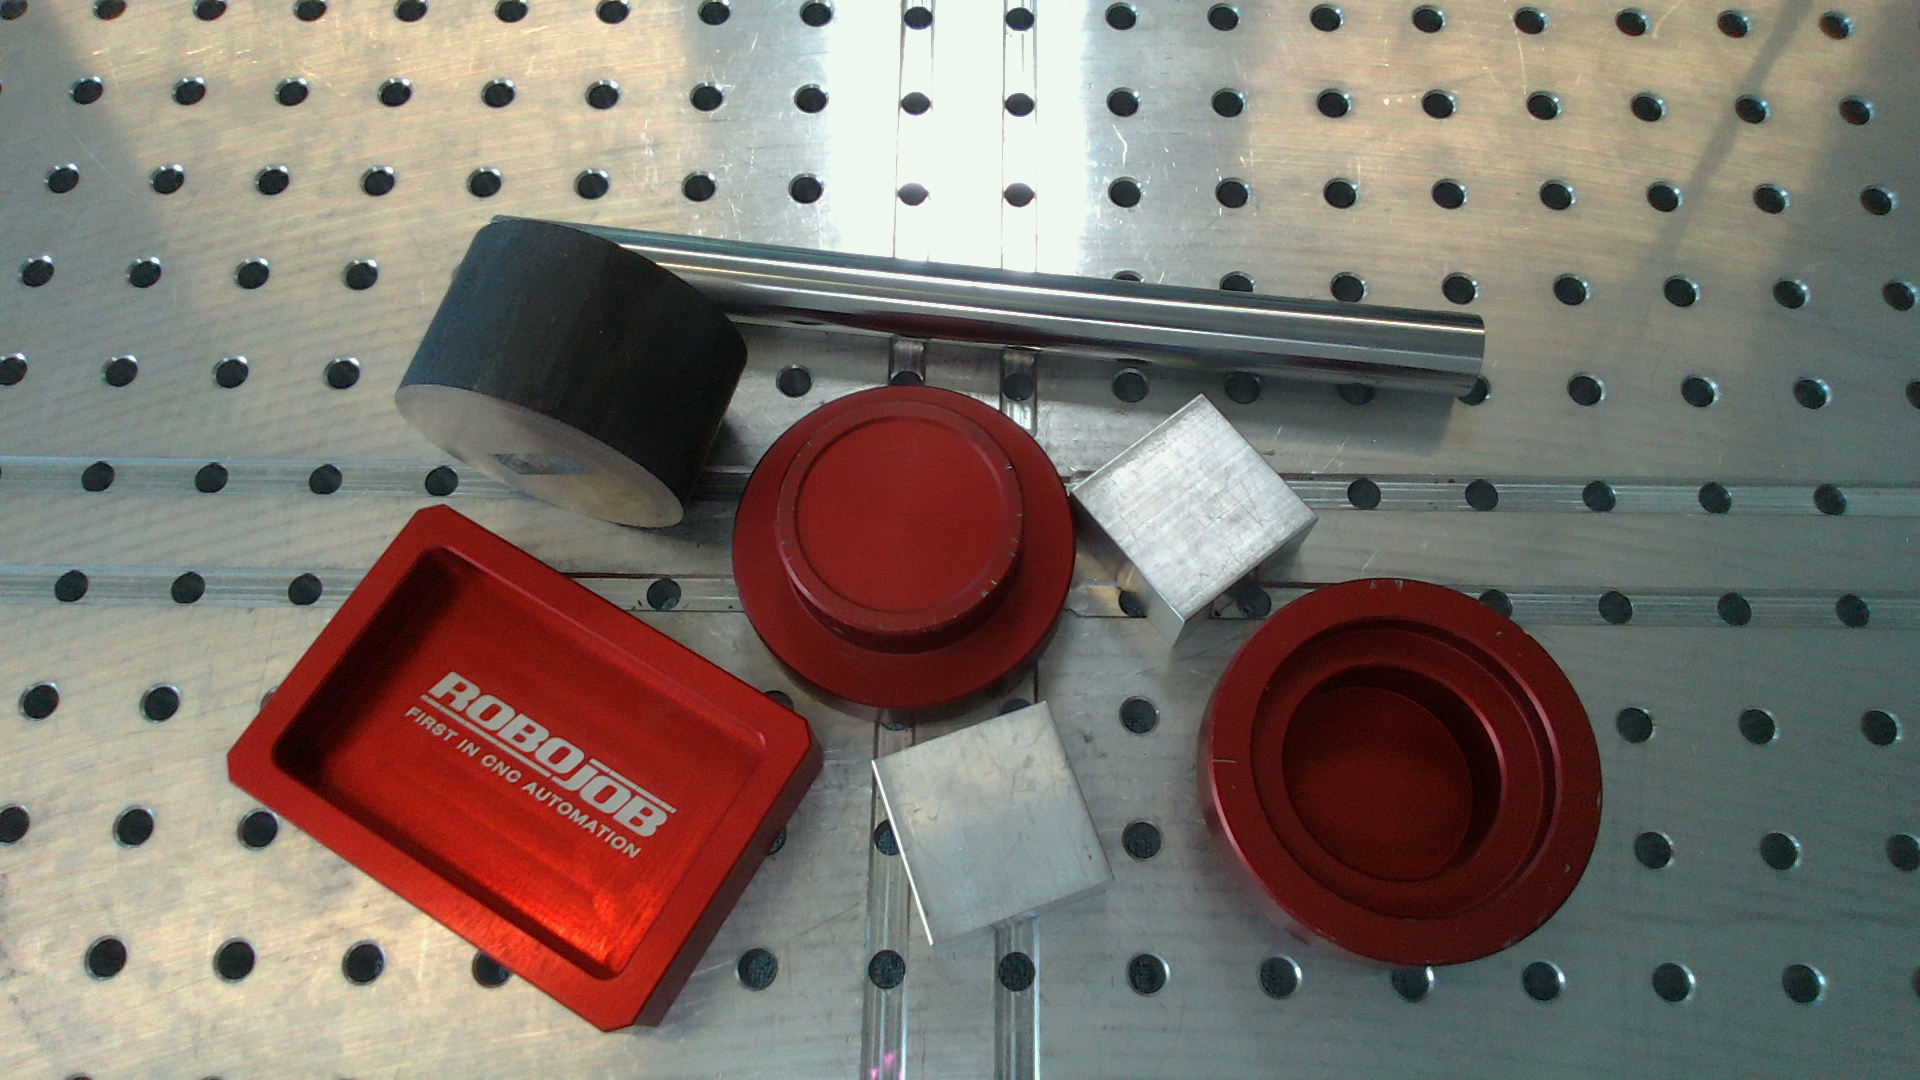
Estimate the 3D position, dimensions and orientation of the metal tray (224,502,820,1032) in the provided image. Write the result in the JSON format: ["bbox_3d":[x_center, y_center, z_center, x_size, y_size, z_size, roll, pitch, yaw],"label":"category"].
[{"bbox_3d":[-0.115,0.059,0.372,0.130,0.030,0.090,29,73,10],"label":"metal tray"}]

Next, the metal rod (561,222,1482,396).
[{"bbox_3d":[0.005,-0.072,0.423,0.300,0.025,0.025,6,70,2],"label":"metal rod"}]

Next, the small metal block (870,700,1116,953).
[{"bbox_3d":[0.008,0.077,0.369,0.050,0.025,0.050,-18,71,-7],"label":"small metal block"}]

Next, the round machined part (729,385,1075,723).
[{"bbox_3d":[-0.016,-0.001,0.388,0.098,0.042,0.098,0,67,0],"label":"round machined part"}]

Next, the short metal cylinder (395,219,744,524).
[{"bbox_3d":[-0.107,-0.044,0.383,0.080,0.080,0.050,17,71,6],"label":"short metal cylinder"}]

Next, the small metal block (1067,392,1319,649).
[{"bbox_3d":[0.066,-0.006,0.400,0.050,0.025,0.050,-36,74,-12],"label":"small metal block"}]

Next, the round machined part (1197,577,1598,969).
[{"bbox_3d":[0.112,0.063,0.365,0.098,0.042,0.098,0,70,0],"label":"round machined part"}]
